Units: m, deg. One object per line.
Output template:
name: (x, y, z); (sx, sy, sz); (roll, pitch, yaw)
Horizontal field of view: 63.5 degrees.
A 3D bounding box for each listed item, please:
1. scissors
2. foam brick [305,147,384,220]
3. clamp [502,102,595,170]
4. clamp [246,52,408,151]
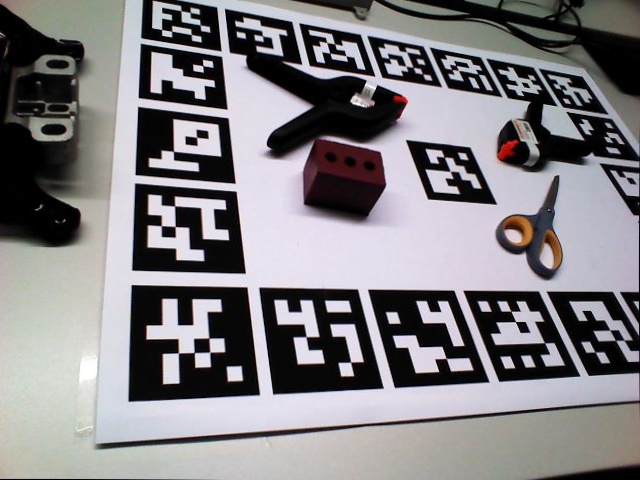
scissors: (0.288, -0.027, 0.661); (0.088, 0.016, 0.201); (39, 49, -2)
foam brick: (0.025, -0.061, 0.567); (0.078, 0.052, 0.052); (7, 55, -12)
clamp: (0.324, -0.146, 0.758); (0.164, 0.037, 0.122); (-25, 75, -33)
clamp: (0.018, -0.170, 0.650); (0.202, 0.037, 0.165); (-1, 53, -23)
